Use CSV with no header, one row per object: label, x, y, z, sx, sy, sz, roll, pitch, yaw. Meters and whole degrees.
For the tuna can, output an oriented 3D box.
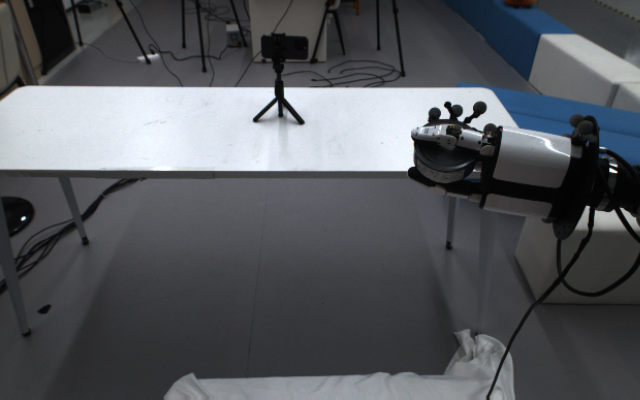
tuna can,0.170,-0.068,0.651,0.085,0.034,0.085,-4,56,6
